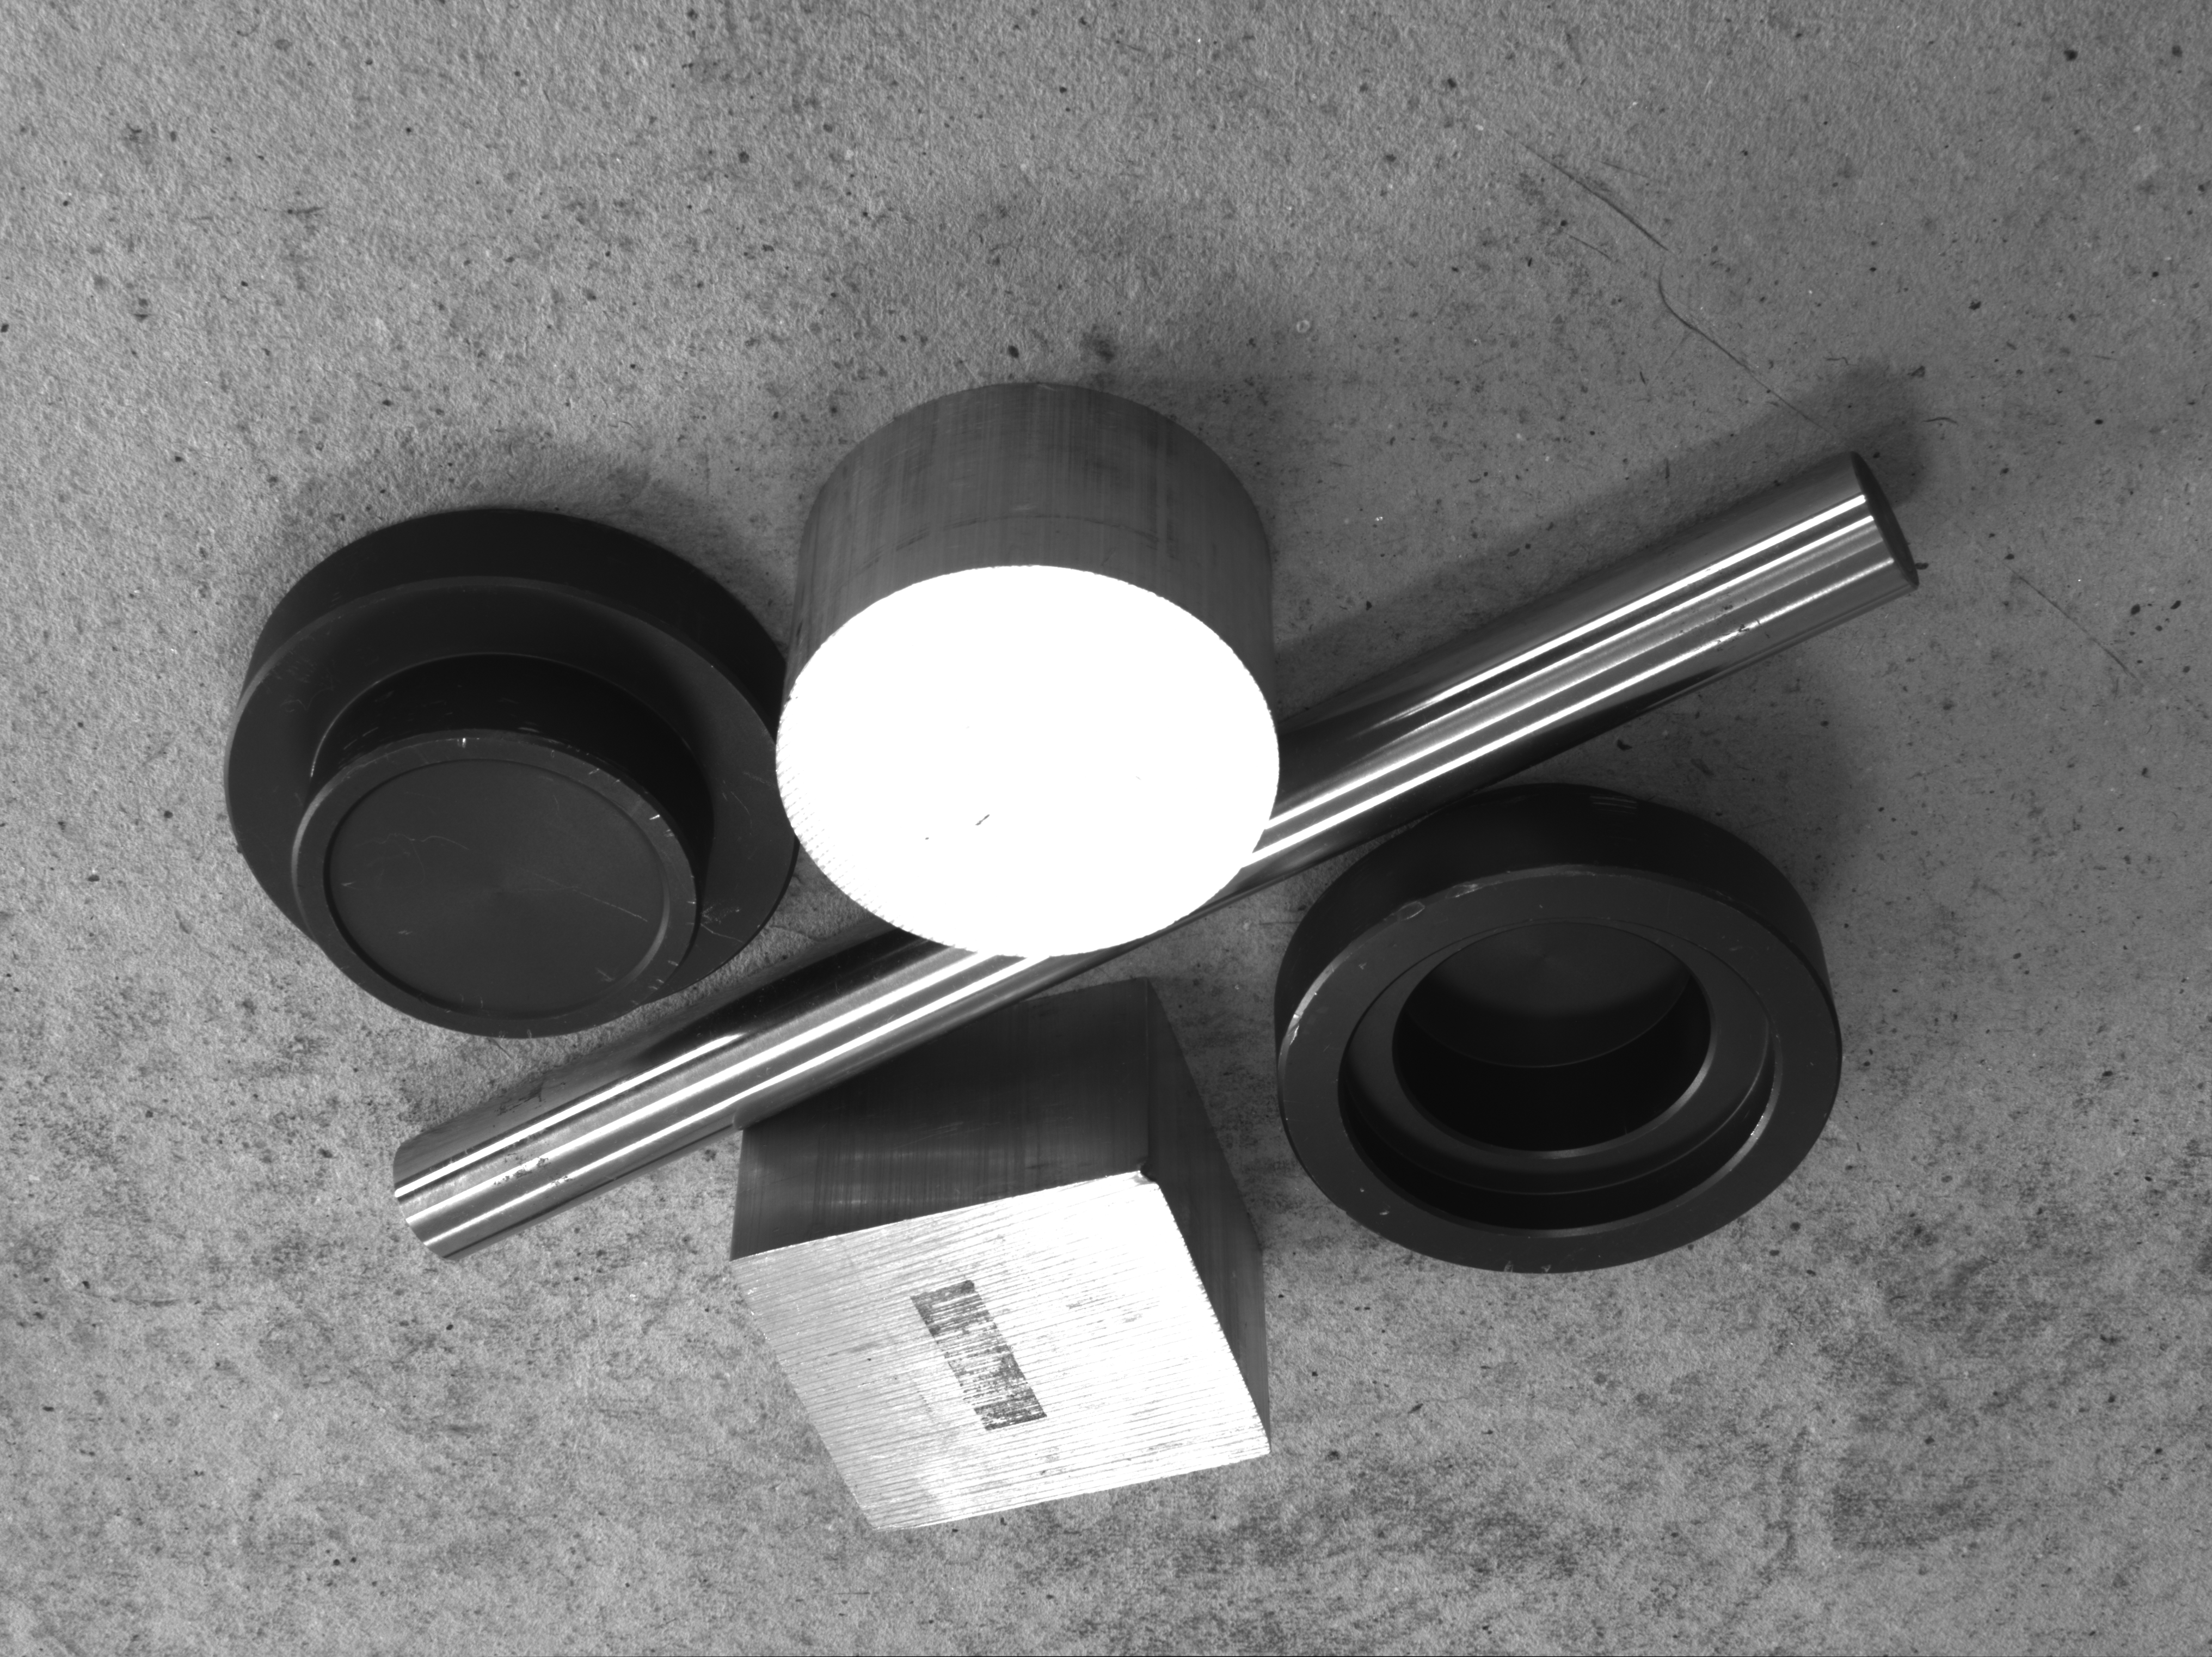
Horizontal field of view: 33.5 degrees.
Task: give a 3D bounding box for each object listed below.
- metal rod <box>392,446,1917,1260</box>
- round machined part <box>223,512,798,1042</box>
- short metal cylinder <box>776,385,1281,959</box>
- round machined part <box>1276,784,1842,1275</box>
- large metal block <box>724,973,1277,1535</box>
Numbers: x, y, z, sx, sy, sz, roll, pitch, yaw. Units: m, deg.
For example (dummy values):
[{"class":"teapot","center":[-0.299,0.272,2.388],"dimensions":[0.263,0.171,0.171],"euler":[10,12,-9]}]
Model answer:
[{"class":"metal rod","center":[-0.001,0.010,0.649],"dimensions":[0.299,0.025,0.025],"euler":[-26,125,20]},{"class":"round machined part","center":[-0.101,-0.002,0.626],"dimensions":[0.098,0.042,0.098],"euler":[0,130,0]},{"class":"short metal cylinder","center":[-0.012,-0.025,0.602],"dimensions":[0.080,0.050,0.080],"euler":[0,130,0]},{"class":"round machined part","center":[0.079,0.031,0.655],"dimensions":[0.098,0.042,0.098],"euler":[0,130,0]},{"class":"large metal block","center":[-0.018,0.081,0.693],"dimensions":[0.080,0.050,0.080],"euler":[-14,129,11]}]
